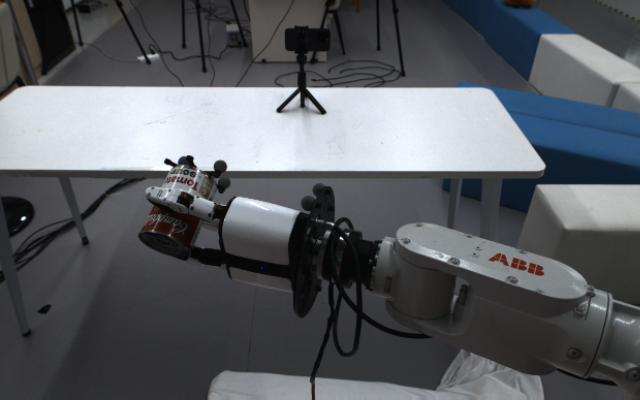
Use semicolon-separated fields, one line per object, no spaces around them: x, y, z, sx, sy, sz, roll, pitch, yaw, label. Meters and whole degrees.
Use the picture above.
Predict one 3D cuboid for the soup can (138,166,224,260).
-0.180;0.016;0.626;0.067;0.067;0.101;9;60;10;soup can
